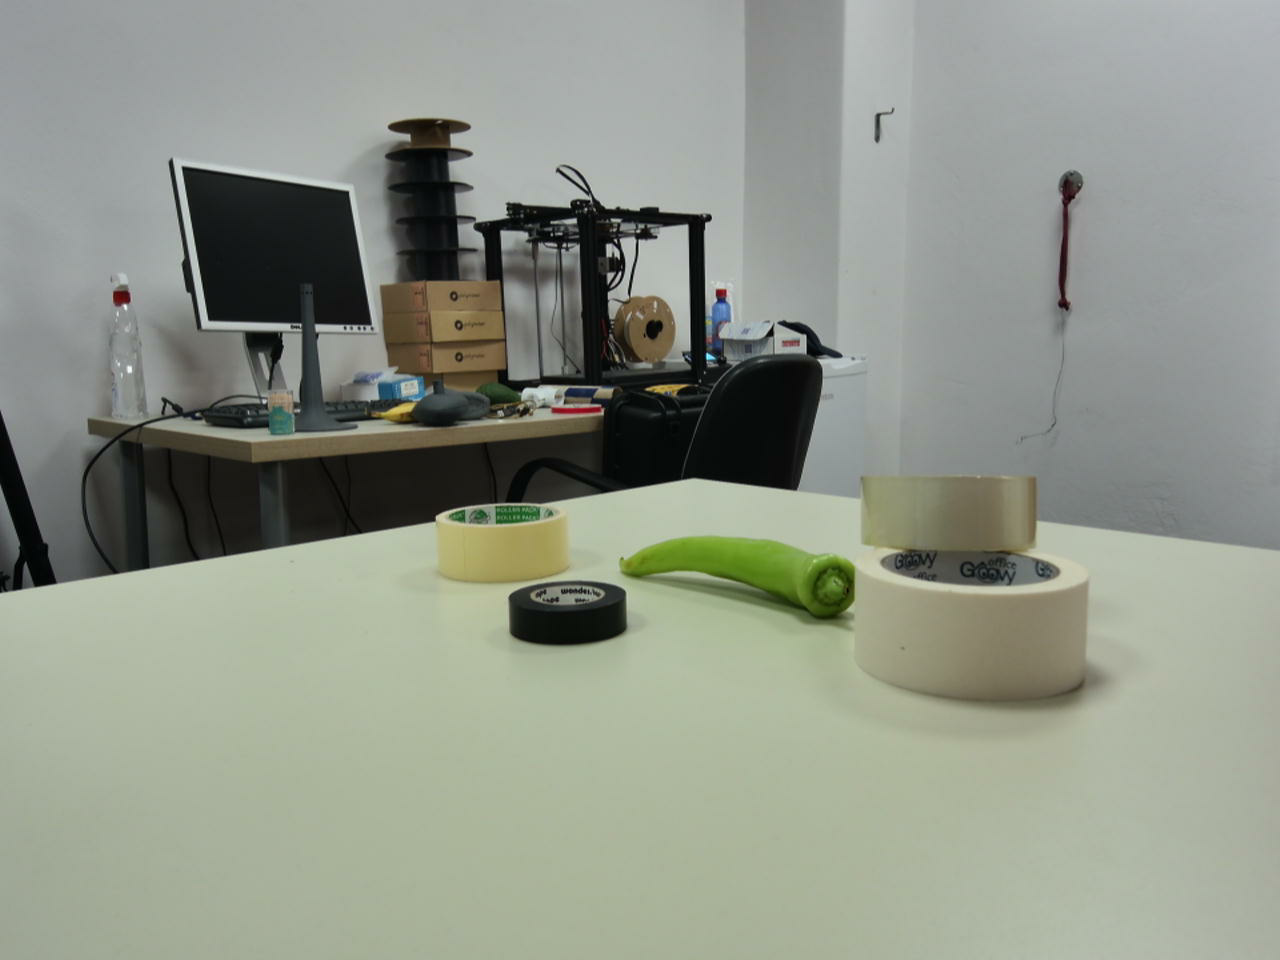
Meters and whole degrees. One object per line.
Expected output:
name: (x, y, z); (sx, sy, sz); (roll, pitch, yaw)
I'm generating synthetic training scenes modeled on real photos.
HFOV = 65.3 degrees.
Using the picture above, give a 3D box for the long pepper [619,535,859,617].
long pepper: (0.060, 0.053, 0.630); (0.046, 0.038, 0.197); (-5, 8, -41)
